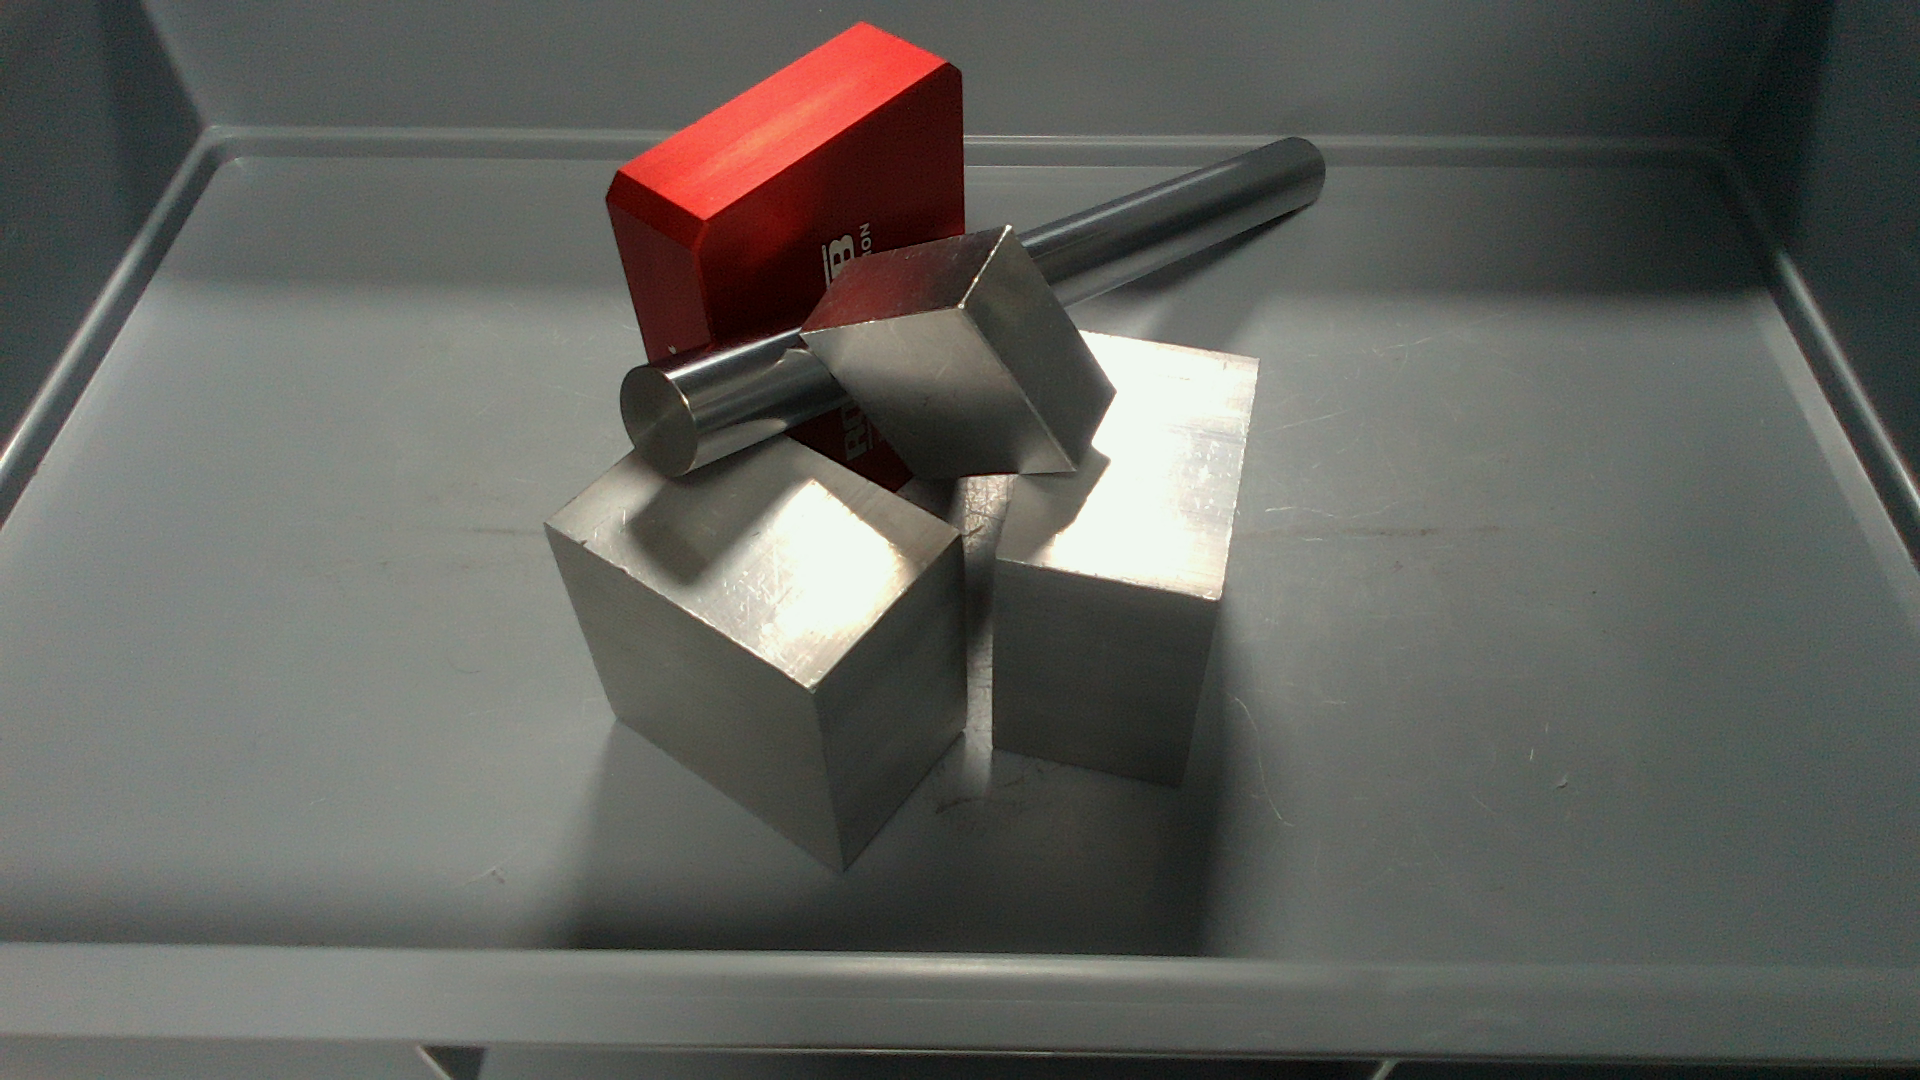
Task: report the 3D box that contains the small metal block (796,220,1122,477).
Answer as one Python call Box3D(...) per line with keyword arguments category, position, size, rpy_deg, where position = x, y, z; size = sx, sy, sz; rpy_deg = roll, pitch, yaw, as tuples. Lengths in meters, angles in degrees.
Box3D(category="small metal block", position=(0.000, -0.041, 0.312), size=(0.050, 0.050, 0.025), rpy_deg=(-1, 50, 43))

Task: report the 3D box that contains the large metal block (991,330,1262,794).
Box3D(category="large metal block", position=(0.042, 0.005, 0.351), size=(0.050, 0.080, 0.080), rpy_deg=(10, 51, 9))

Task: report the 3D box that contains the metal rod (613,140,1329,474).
Box3D(category="metal rod", position=(0.028, -0.080, 0.399), size=(0.025, 0.025, 0.301), rpy_deg=(34, 41, 25))

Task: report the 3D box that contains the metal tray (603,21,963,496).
Box3D(category="metal tray", position=(-0.039, -0.058, 0.370), size=(0.030, 0.130, 0.090), rpy_deg=(32, 58, 26))

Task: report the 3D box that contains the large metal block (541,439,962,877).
Box3D(category="large metal block", position=(-0.047, 0.024, 0.336), size=(0.080, 0.080, 0.050), rpy_deg=(29, 56, 23))
